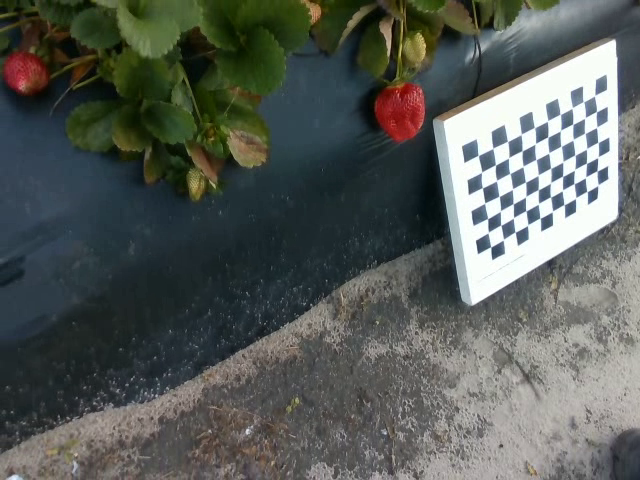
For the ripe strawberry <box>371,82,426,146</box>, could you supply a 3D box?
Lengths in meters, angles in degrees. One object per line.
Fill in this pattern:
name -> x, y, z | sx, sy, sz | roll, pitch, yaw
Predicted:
ripe strawberry -> 0.096, -0.152, 0.702 | 0.067, 0.075, 0.039 | -22, 28, -17
